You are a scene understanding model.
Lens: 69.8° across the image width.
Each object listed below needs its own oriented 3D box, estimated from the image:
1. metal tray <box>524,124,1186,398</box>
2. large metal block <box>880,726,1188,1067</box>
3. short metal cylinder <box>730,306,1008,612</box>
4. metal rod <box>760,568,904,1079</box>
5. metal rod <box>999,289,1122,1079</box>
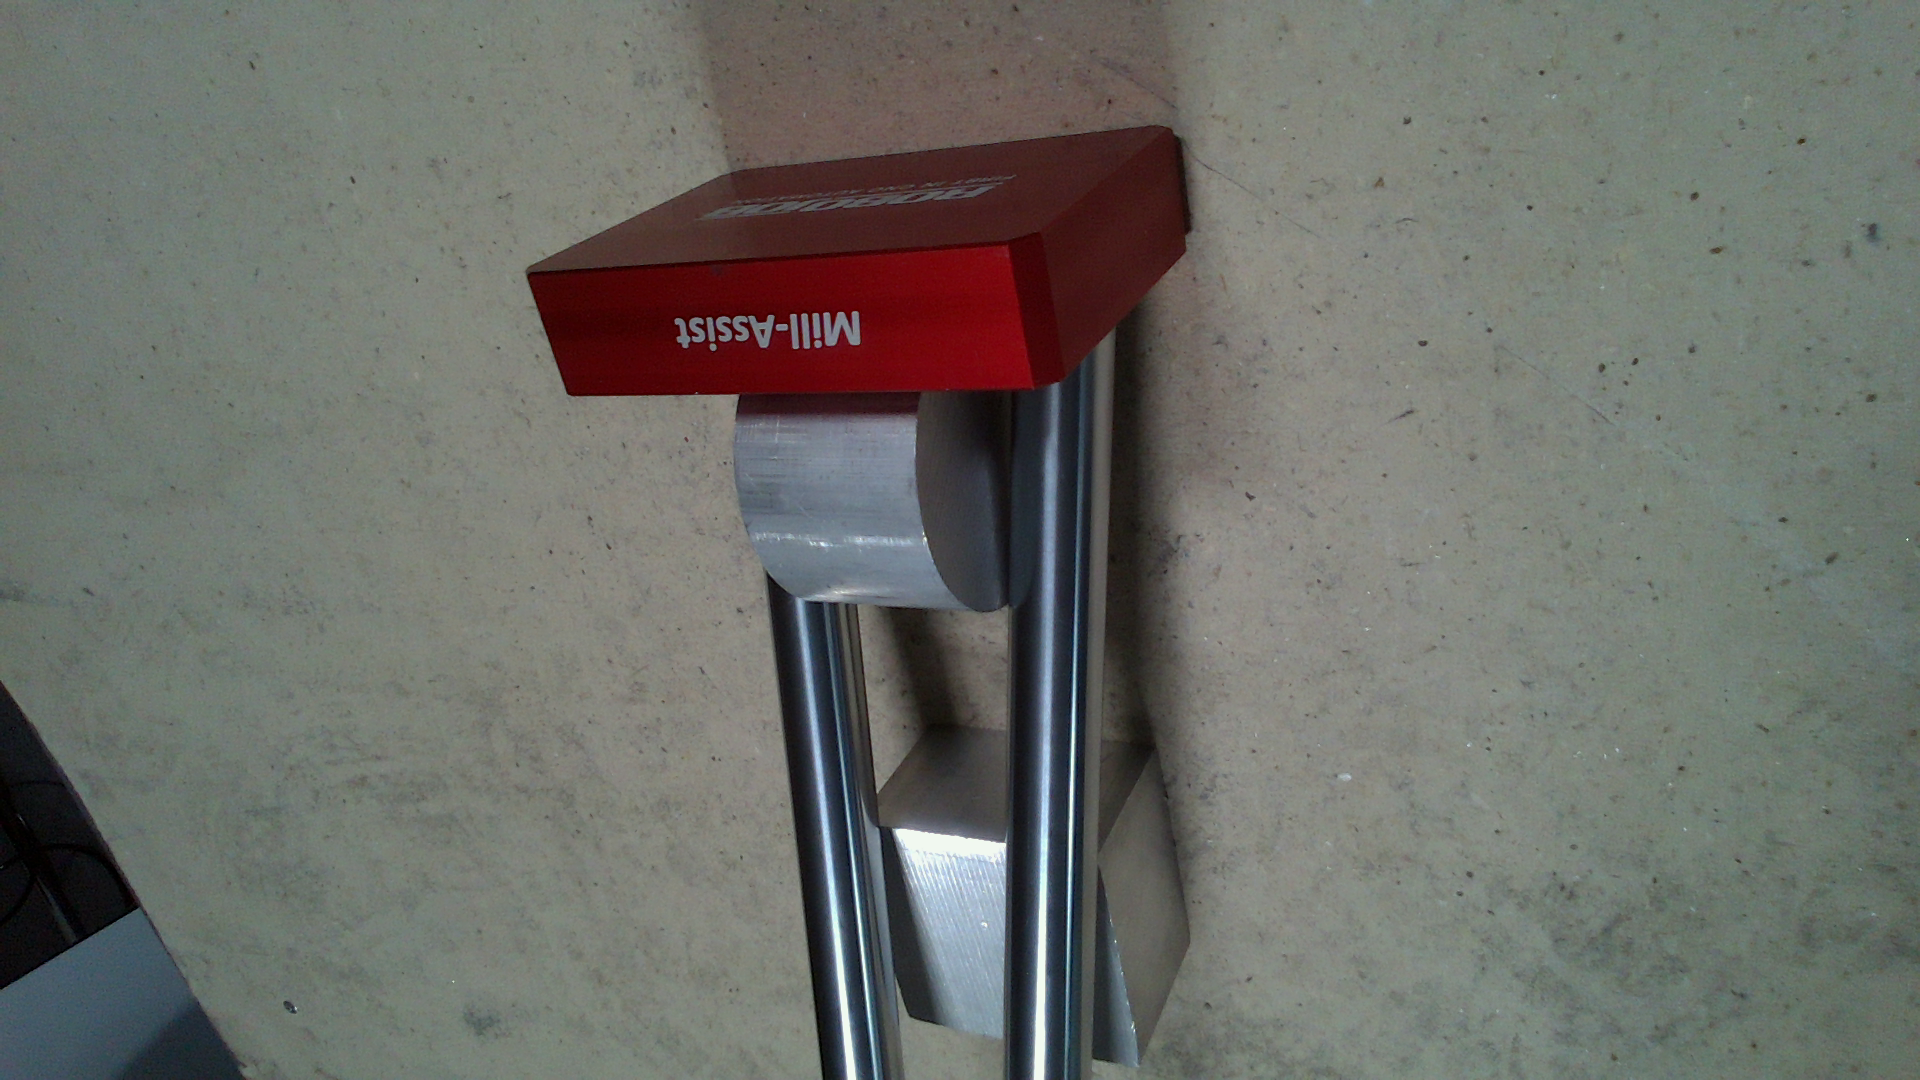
[{"bbox_3d":[-0.023,-0.065,0.322,0.130,0.090,0.030,2,120,27],"label":"metal tray"},{"bbox_3d":[0.021,0.109,0.431,0.080,0.050,0.080,2,119,27],"label":"large metal block"},{"bbox_3d":[-0.014,-0.023,0.352,0.050,0.080,0.080,2,119,27],"label":"short metal cylinder"},{"bbox_3d":[-0.038,0.068,0.396,0.025,0.025,0.300,2,104,27],"label":"metal rod"},{"bbox_3d":[0.025,0.071,0.364,0.025,0.025,0.300,8,107,24],"label":"metal rod"}]
